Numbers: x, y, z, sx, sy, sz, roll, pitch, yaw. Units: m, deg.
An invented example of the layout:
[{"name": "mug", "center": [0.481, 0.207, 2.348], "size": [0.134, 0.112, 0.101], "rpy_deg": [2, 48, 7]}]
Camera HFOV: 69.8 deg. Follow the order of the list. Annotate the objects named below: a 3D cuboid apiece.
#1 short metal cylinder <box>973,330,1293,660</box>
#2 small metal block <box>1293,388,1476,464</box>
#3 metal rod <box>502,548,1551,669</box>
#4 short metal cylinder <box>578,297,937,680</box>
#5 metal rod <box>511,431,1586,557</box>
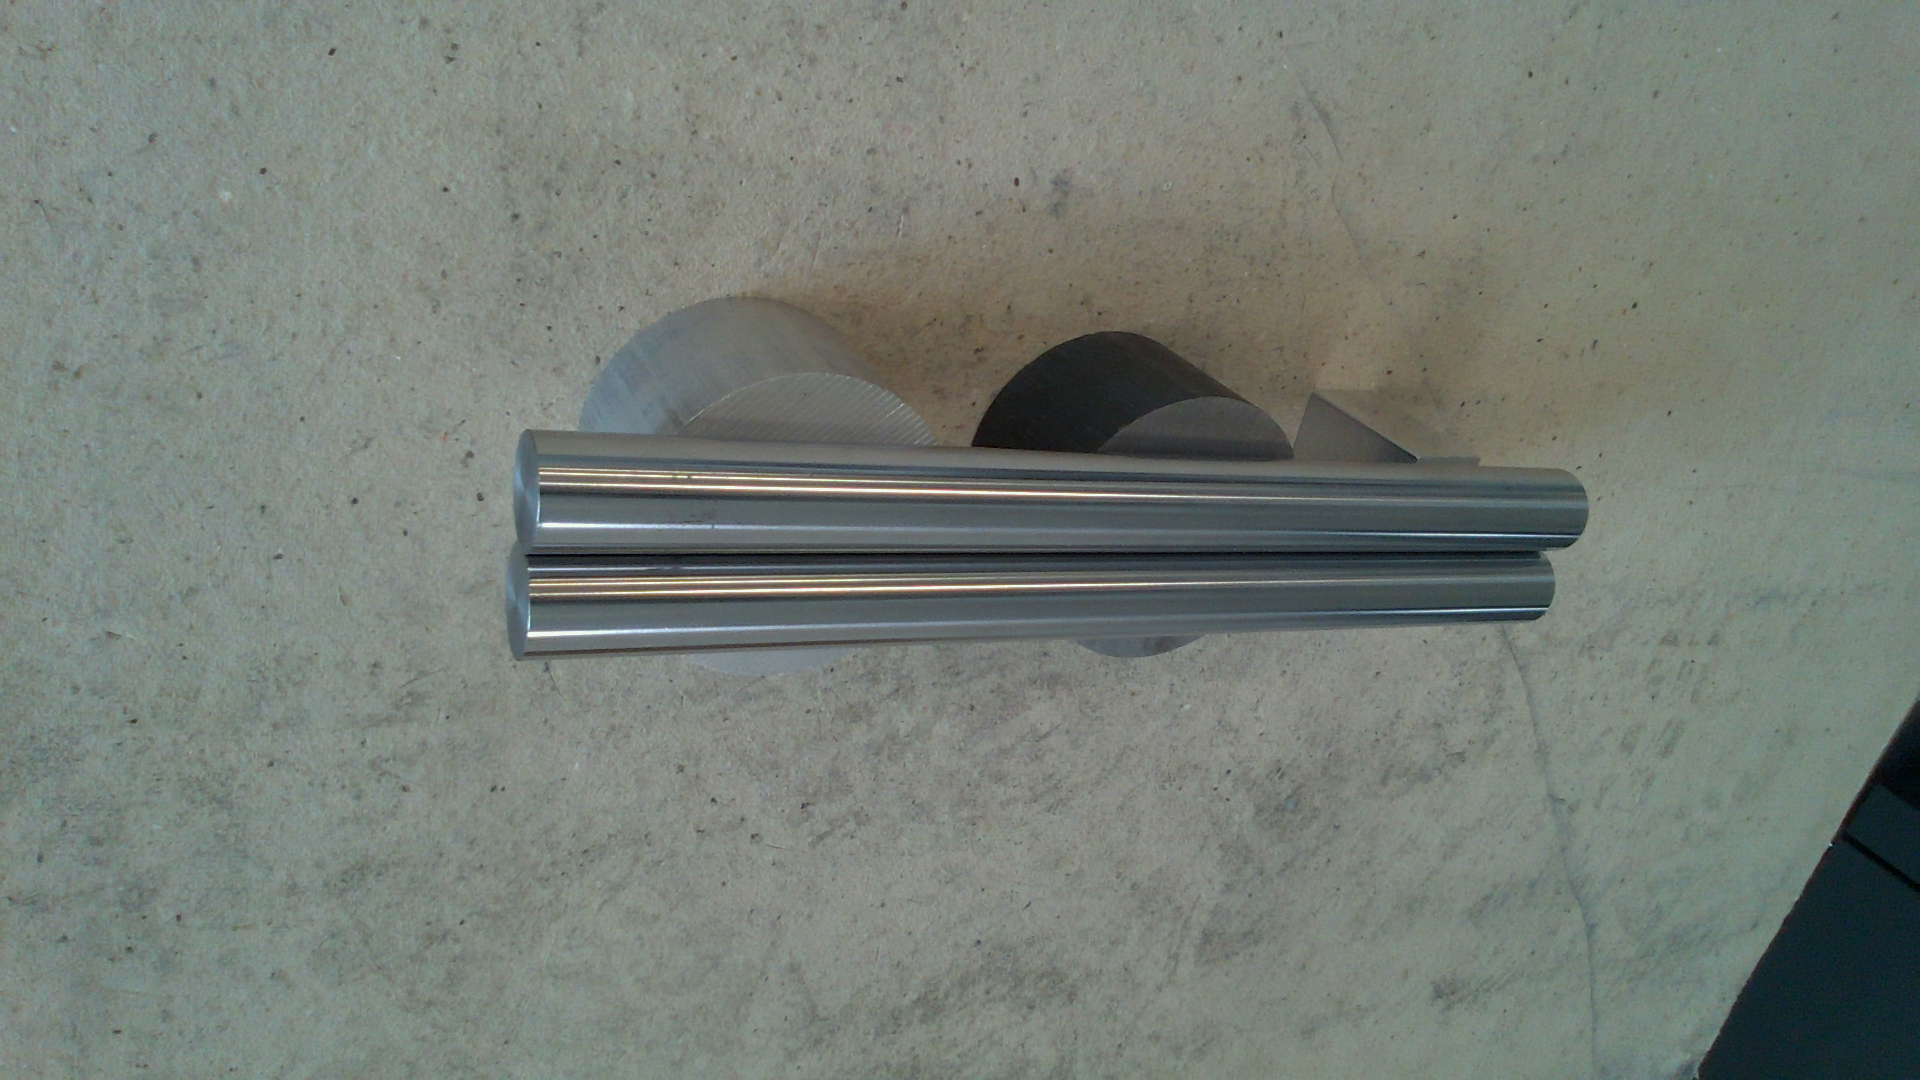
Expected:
[{"name": "short metal cylinder", "center": [0.048, -0.013, 0.392], "size": [0.080, 0.050, 0.080], "rpy_deg": [-14, 124, -21]}, {"name": "small metal block", "center": [0.128, -0.015, 0.435], "size": [0.025, 0.050, 0.050], "rpy_deg": [-2, 119, -28]}, {"name": "metal rod", "center": [0.040, 0.014, 0.355], "size": [0.301, 0.025, 0.025], "rpy_deg": [0, 118, -28]}, {"name": "short metal cylinder", "center": [-0.049, -0.013, 0.338], "size": [0.080, 0.050, 0.080], "rpy_deg": [-14, 124, -21]}, {"name": "metal rod", "center": [0.046, -0.009, 0.343], "size": [0.301, 0.025, 0.025], "rpy_deg": [0, 118, -28]}]
